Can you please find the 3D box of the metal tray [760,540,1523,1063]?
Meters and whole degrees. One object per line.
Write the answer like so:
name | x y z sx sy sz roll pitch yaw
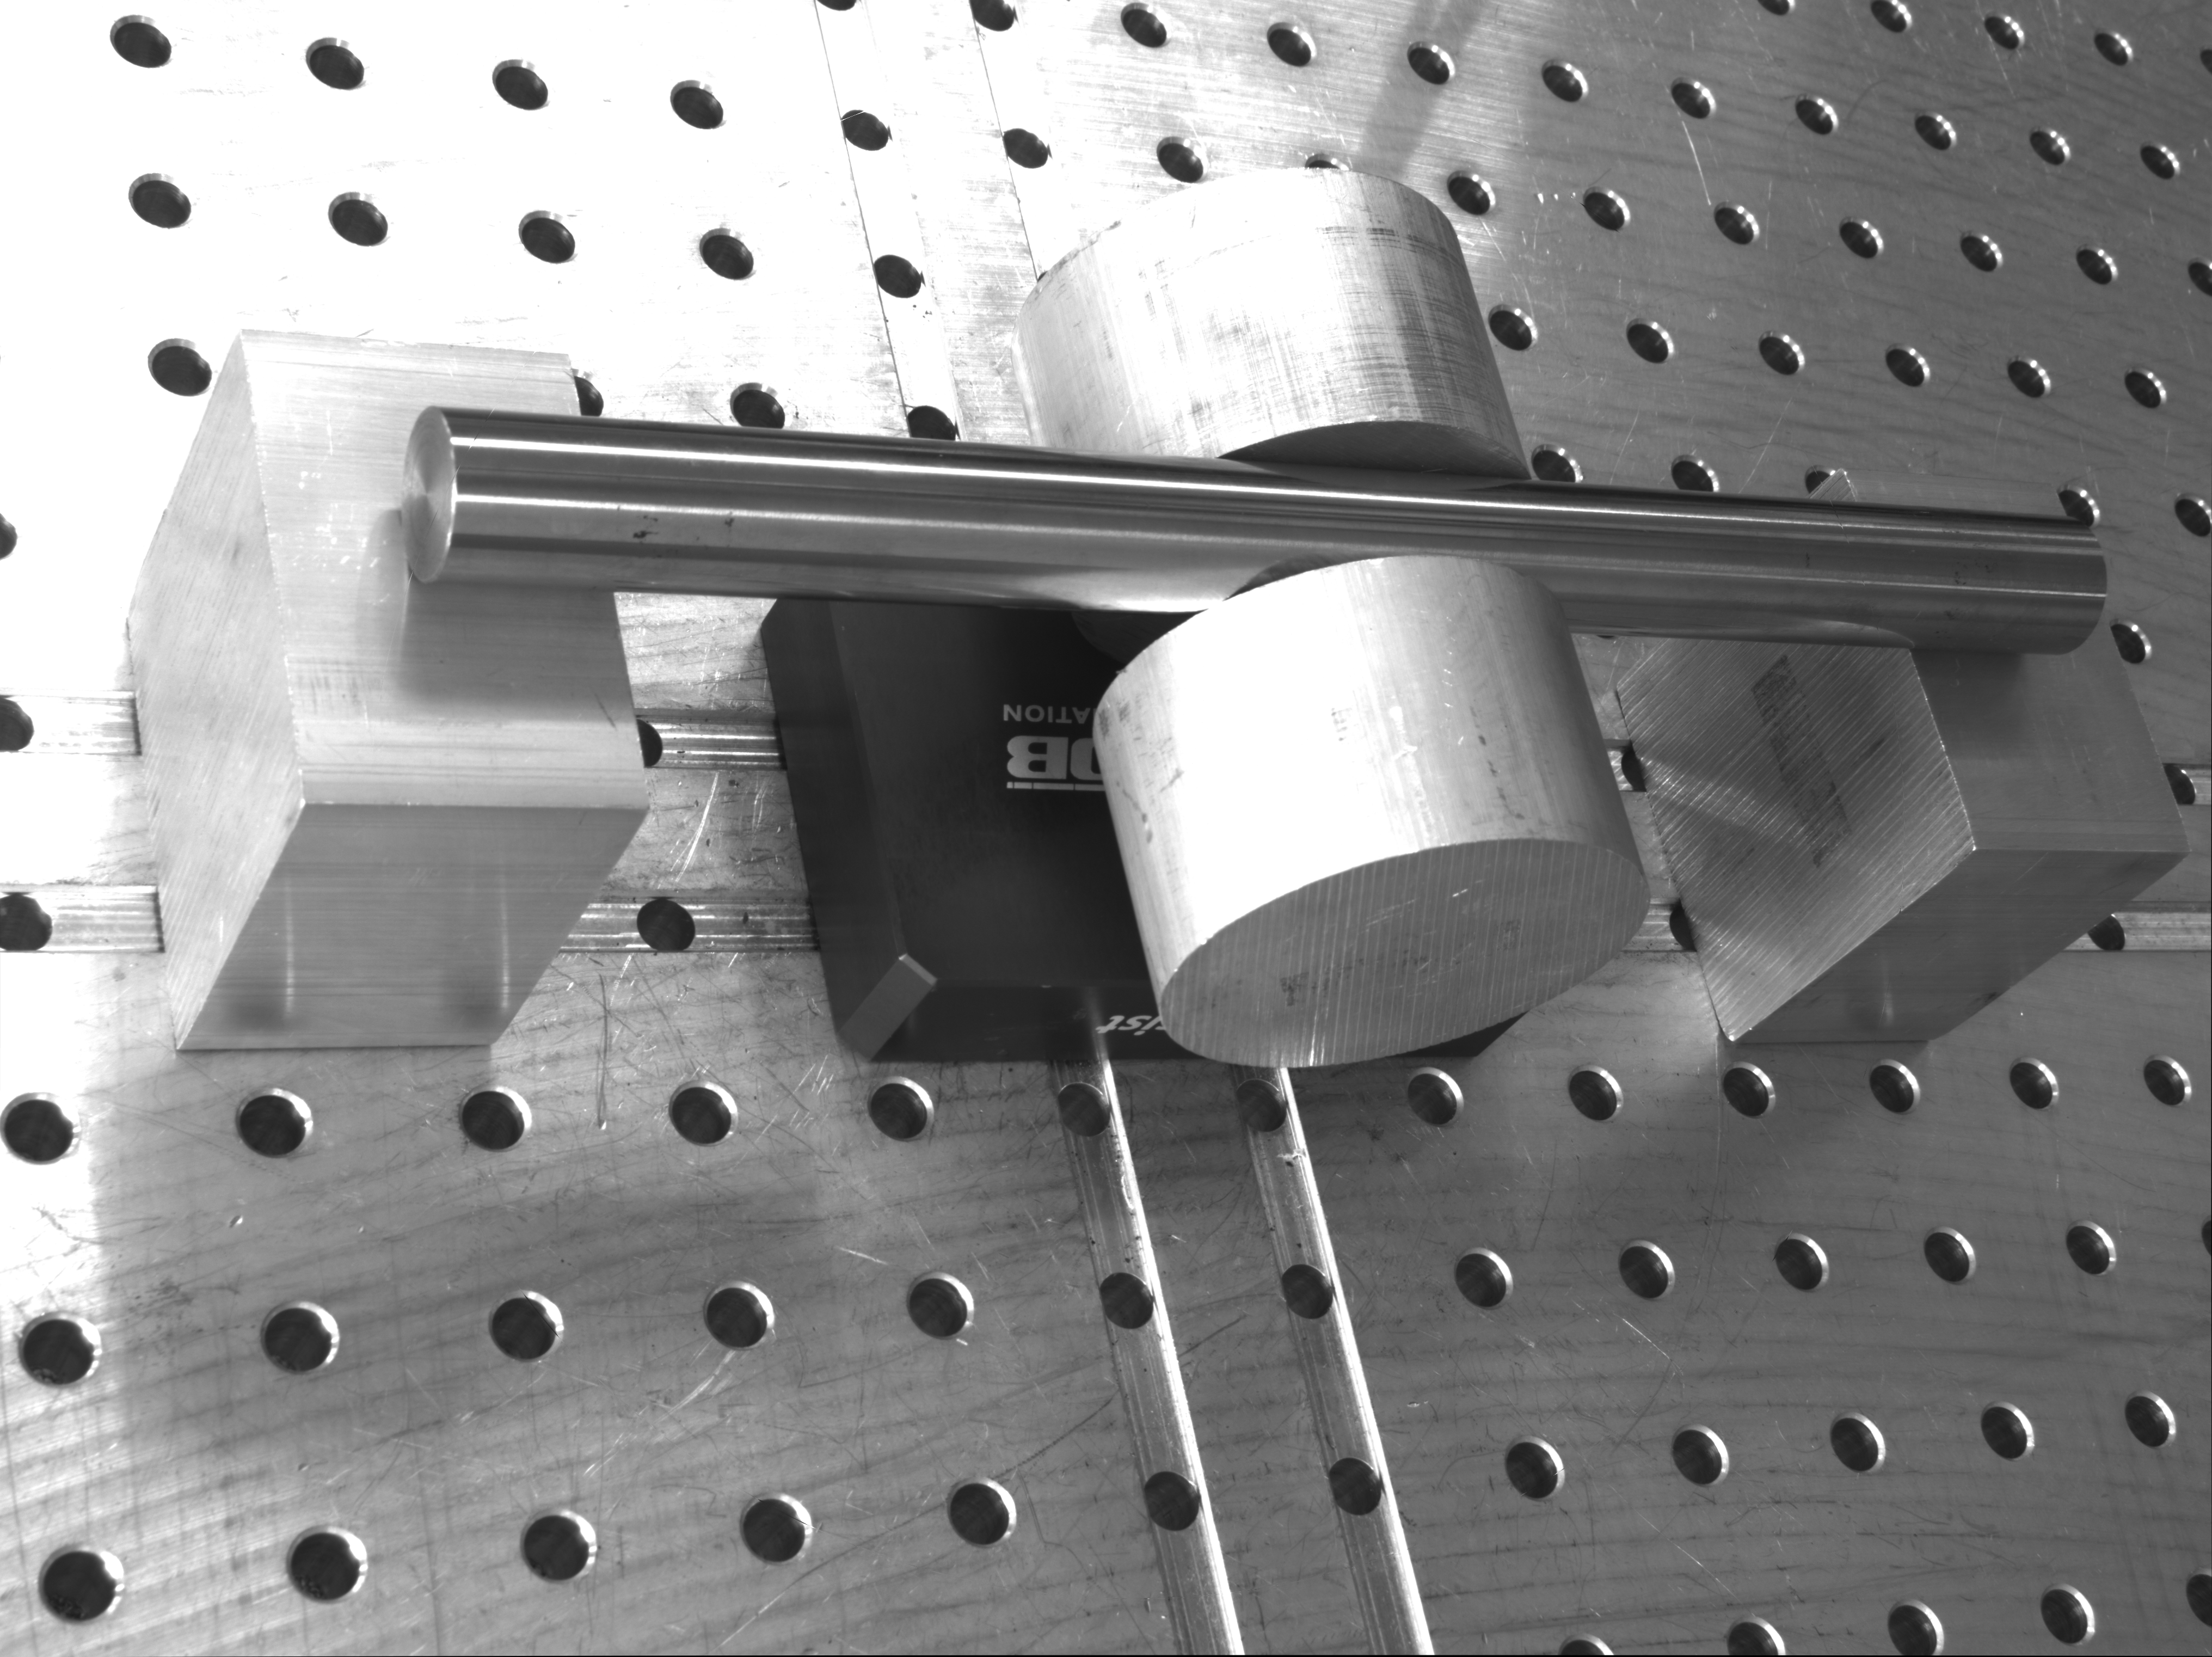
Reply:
metal tray | 0.011 -0.006 0.648 0.130 0.030 0.090 1 61 -27

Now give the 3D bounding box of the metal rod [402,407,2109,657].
metal rod | 0.038 -0.045 0.586 0.301 0.025 0.025 1 61 -28

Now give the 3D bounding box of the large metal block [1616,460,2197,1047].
large metal block | 0.148 -0.012 0.692 0.050 0.080 0.080 1 61 -28

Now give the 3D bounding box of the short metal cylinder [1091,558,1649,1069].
short metal cylinder | 0.042 -0.001 0.591 0.080 0.080 0.050 1 61 -28

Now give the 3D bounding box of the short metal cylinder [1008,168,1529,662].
short metal cylinder | 0.027 -0.067 0.624 0.080 0.080 0.050 1 61 -28

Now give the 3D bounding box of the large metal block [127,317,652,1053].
large metal block | -0.111 -0.020 0.557 0.050 0.080 0.080 1 61 -28
